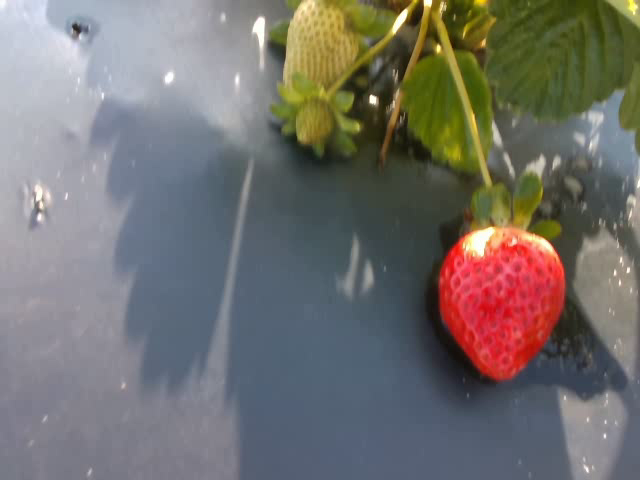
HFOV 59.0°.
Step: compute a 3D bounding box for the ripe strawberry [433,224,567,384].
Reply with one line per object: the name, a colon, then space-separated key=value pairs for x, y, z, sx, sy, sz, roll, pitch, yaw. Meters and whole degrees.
ripe strawberry: x=0.043 y=0.017 z=0.128 sx=0.030 sy=0.044 sz=0.033 roll=-3 pitch=-39 yaw=37
